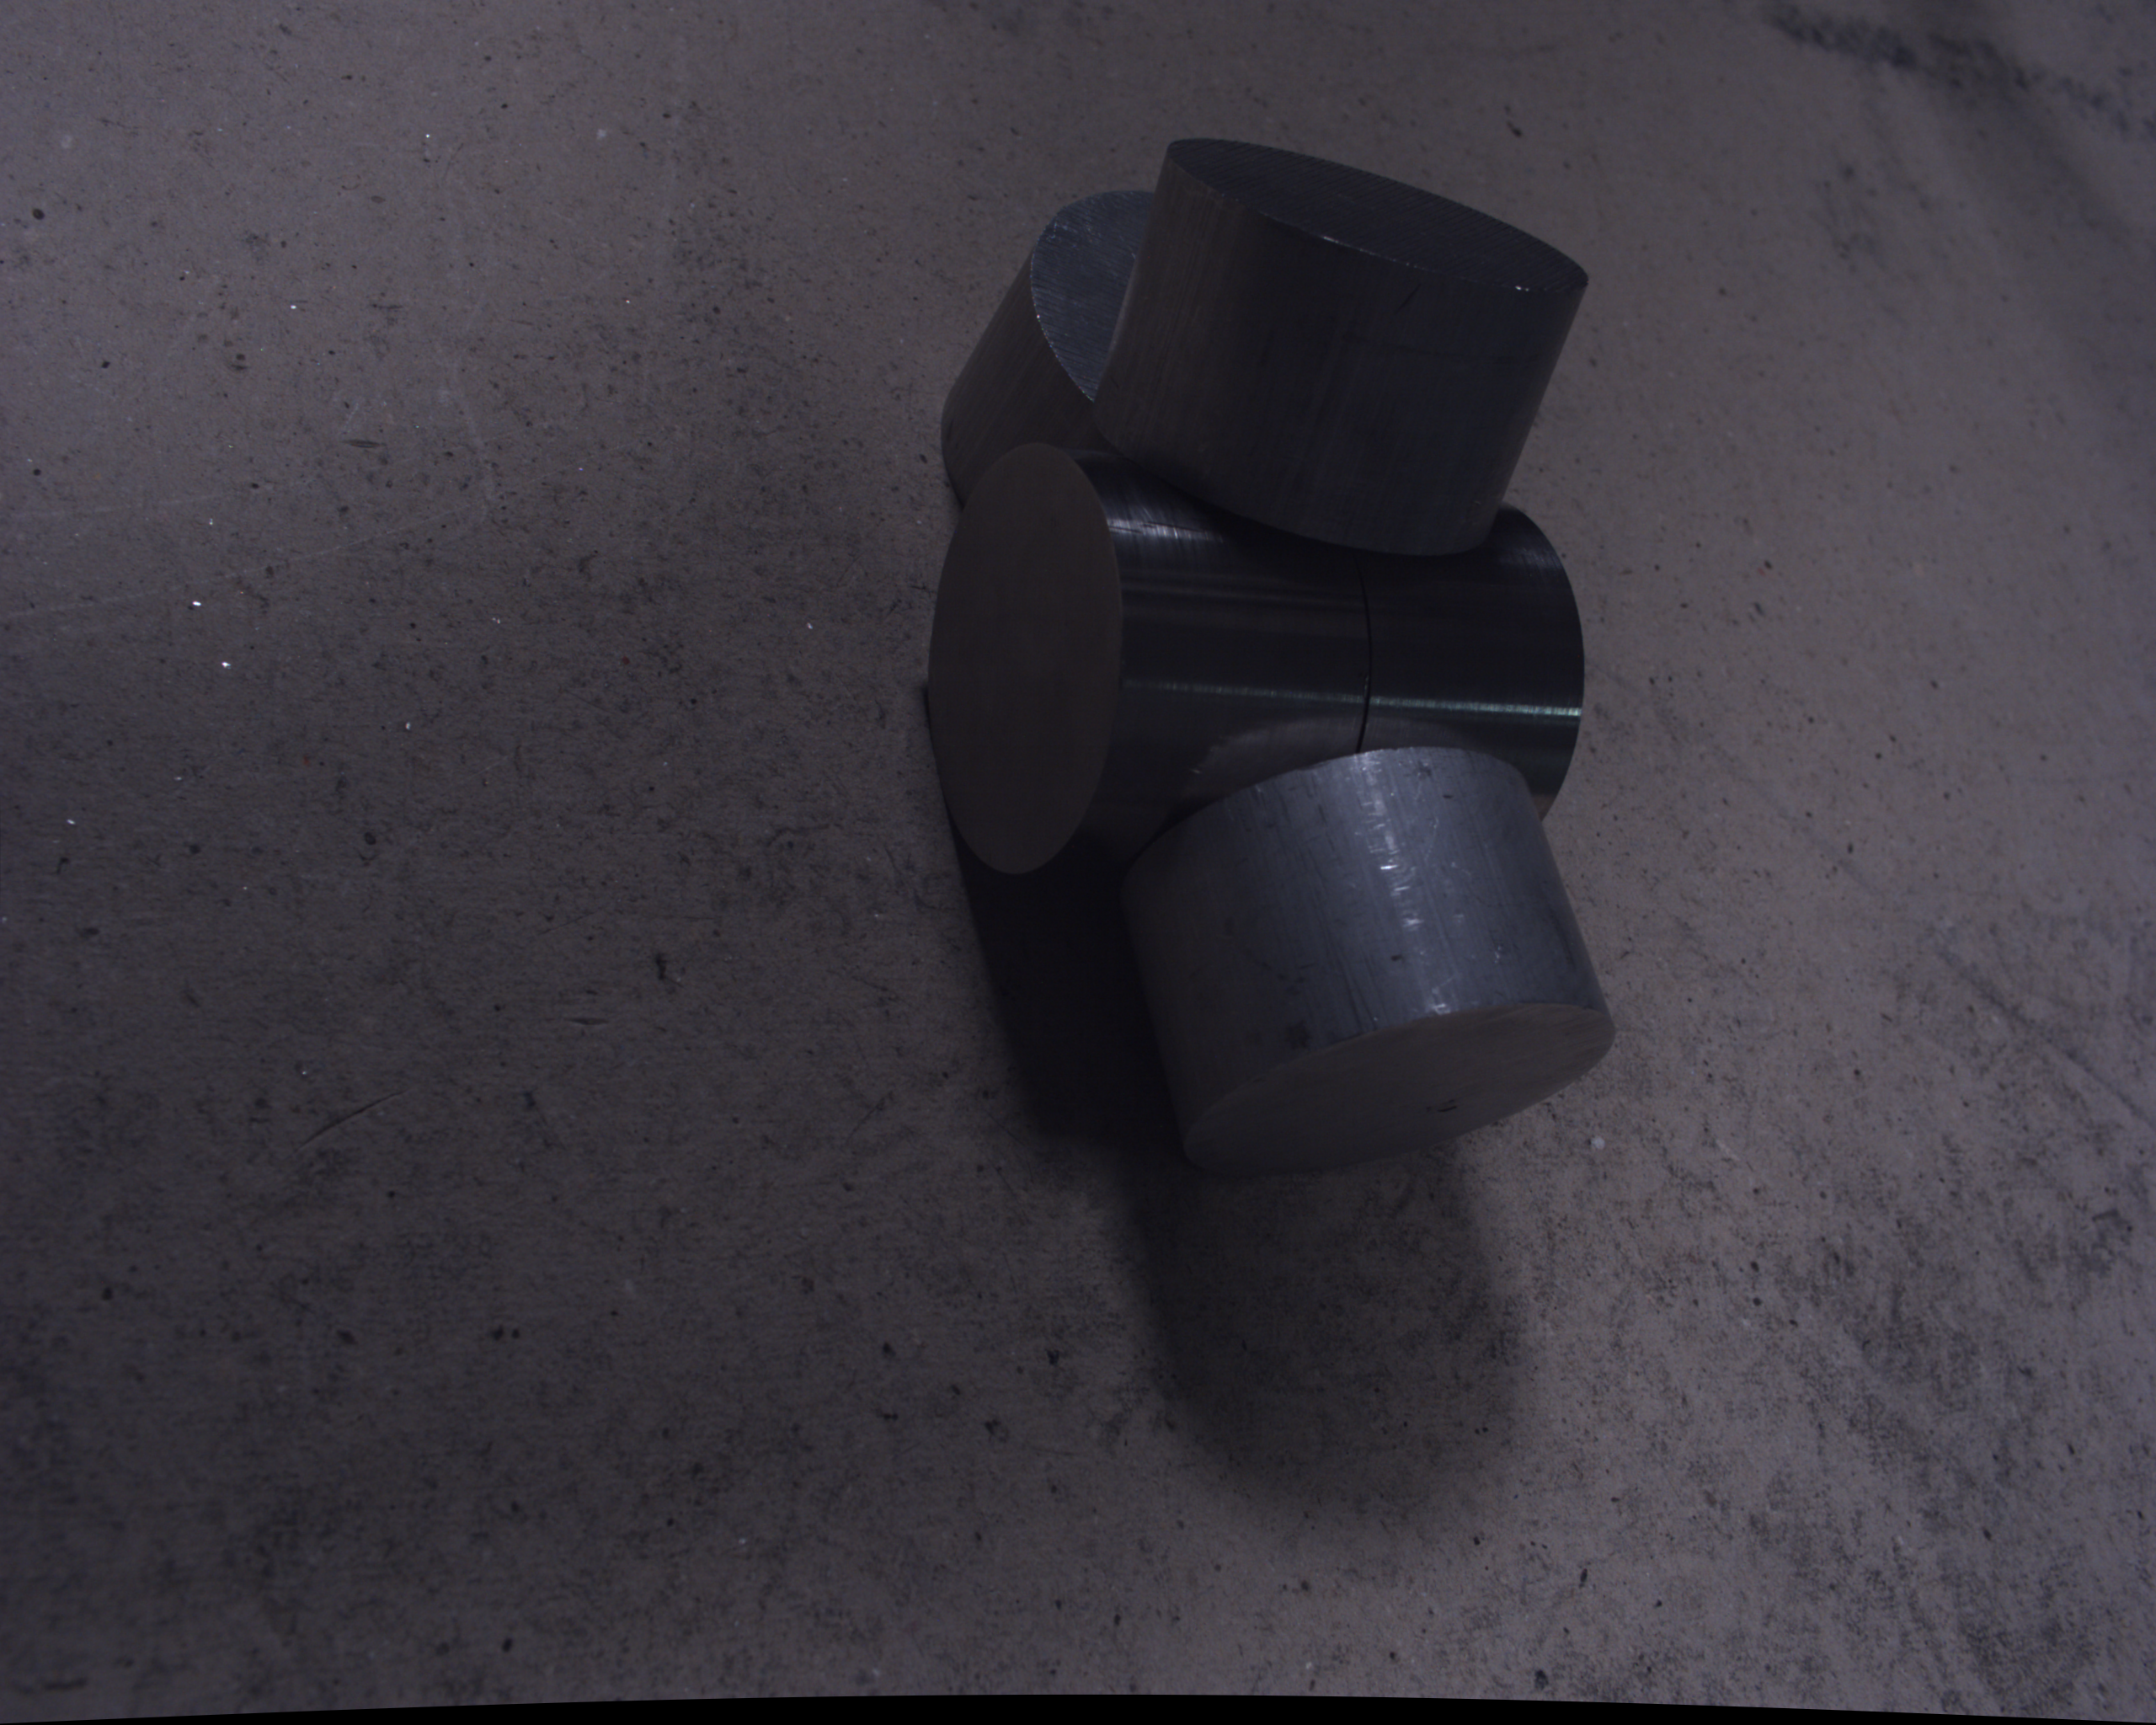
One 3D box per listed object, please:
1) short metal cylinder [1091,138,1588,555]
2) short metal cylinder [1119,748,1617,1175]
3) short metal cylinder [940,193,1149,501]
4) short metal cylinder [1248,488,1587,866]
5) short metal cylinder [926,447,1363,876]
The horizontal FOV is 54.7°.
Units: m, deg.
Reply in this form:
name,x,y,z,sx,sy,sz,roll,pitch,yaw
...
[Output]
name,x,y,z,sx,sy,sz,roll,pitch,yaw
short metal cylinder,0.048,-0.098,0.392,0.081,0.050,0.080,14,29,-7
short metal cylinder,0.053,0.020,0.388,0.081,0.080,0.050,0,62,-29
short metal cylinder,0.016,-0.100,0.462,0.081,0.050,0.080,14,56,-21
short metal cylinder,0.057,-0.037,0.425,0.050,0.080,0.080,0,62,-28
short metal cylinder,0.010,-0.037,0.400,0.050,0.080,0.080,1,62,-28
